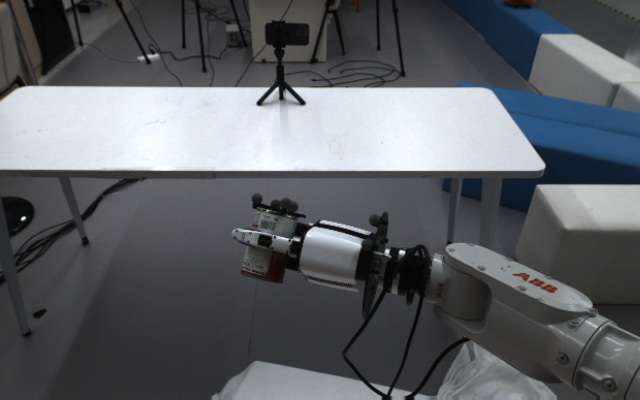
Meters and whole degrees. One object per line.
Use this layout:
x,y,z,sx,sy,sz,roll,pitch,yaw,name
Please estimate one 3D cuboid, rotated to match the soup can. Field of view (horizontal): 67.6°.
-0.076,0.071,0.738,0.067,0.101,0.067,13,-6,1,soup can
